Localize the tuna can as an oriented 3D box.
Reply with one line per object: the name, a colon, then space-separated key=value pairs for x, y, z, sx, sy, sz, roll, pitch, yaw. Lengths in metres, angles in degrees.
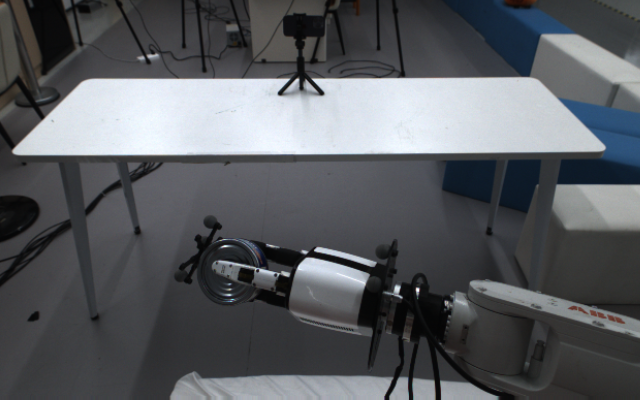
tuna can: x=-0.108 y=0.094 z=0.612 sx=0.085 sy=0.085 sz=0.034 roll=9 pitch=-4 yaw=10
